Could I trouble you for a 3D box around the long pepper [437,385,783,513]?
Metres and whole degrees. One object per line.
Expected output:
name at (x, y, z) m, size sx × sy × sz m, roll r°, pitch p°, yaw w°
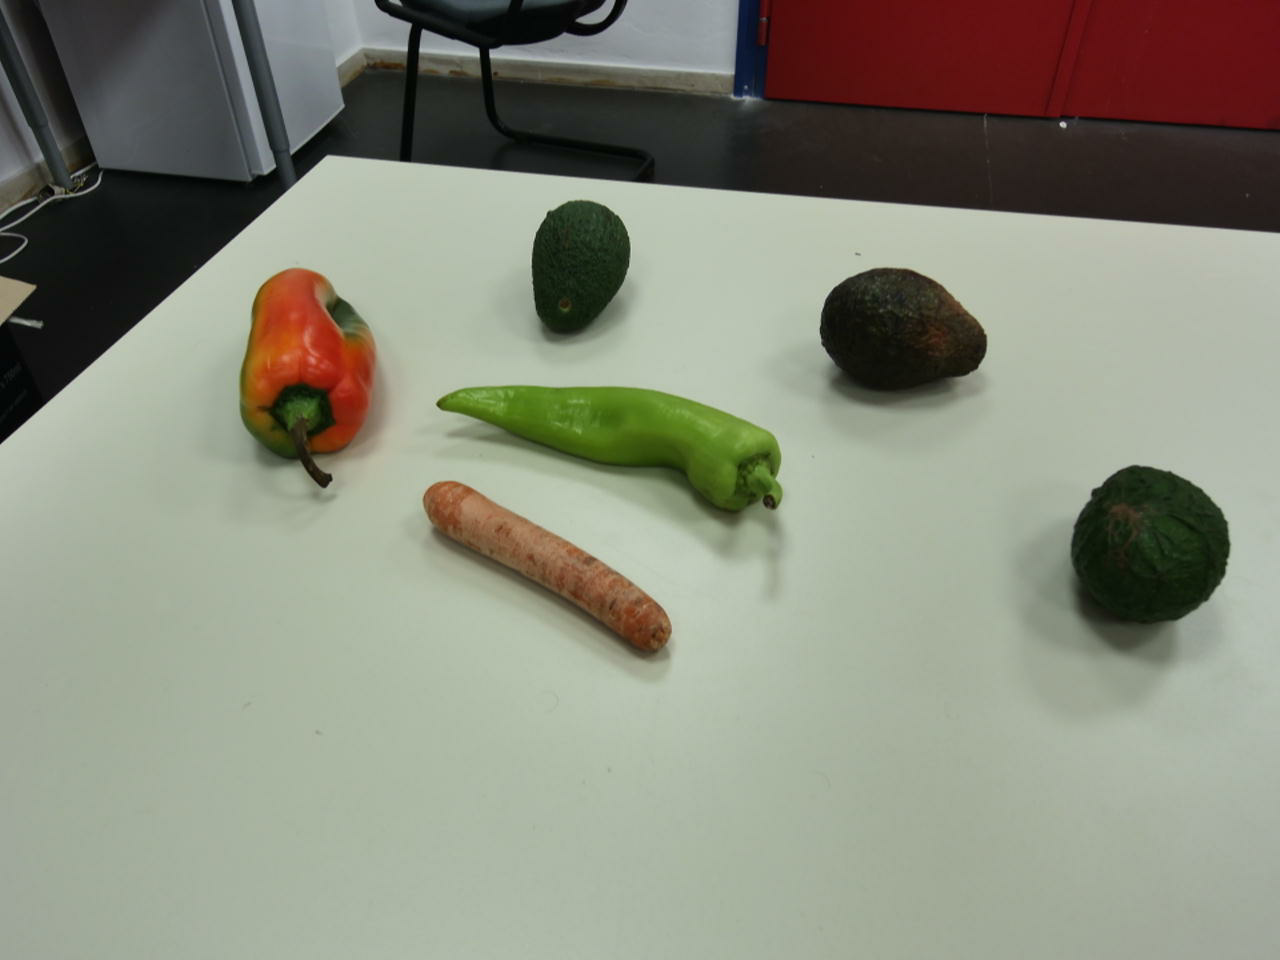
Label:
long pepper at (-0.009, -0.027, 0.538) m, size 0.205 × 0.045 × 0.065 m, roll 19°, pitch 43°, yaw 23°
